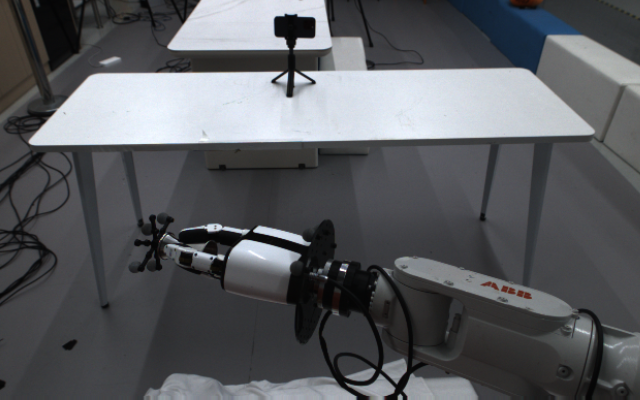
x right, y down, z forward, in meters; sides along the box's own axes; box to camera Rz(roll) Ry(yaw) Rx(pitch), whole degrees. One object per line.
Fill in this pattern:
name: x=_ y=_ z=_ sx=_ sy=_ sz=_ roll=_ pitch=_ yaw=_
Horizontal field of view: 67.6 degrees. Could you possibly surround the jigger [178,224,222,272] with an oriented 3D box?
jigger: x=-0.175 y=0.066 z=0.659 sx=0.071 sy=0.043 sz=0.043 roll=10 pitch=35 yaw=16
